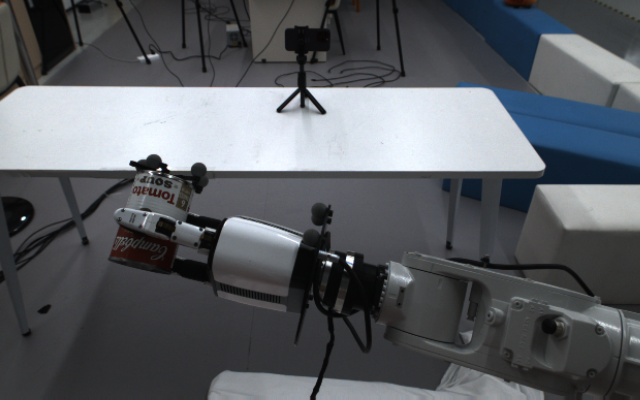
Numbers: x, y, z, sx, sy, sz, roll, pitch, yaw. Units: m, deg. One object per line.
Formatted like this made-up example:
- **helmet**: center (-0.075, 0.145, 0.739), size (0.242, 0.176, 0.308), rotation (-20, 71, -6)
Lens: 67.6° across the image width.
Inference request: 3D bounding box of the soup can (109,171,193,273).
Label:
- **soup can**: center (-0.184, 0.027, 0.539), size (0.067, 0.067, 0.101), rotation (9, 74, 9)
